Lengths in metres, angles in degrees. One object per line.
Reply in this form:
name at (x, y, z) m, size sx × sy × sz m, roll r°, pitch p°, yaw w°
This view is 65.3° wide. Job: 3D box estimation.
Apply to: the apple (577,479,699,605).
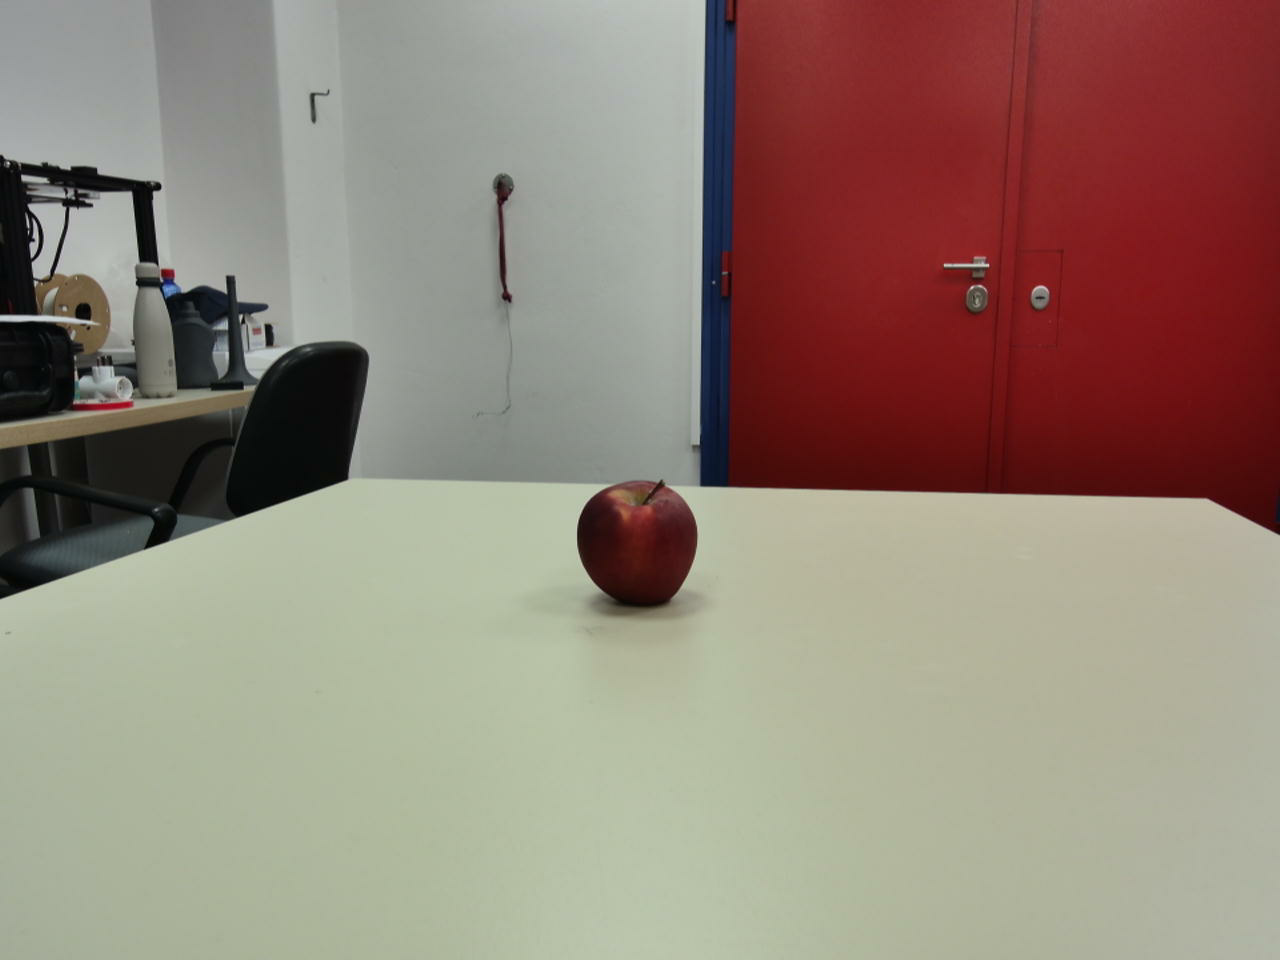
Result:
apple at (-0.002, 0.034, 0.577) m, size 0.070 × 0.072 × 0.070 m, roll -1°, pitch 7°, yaw 0°
